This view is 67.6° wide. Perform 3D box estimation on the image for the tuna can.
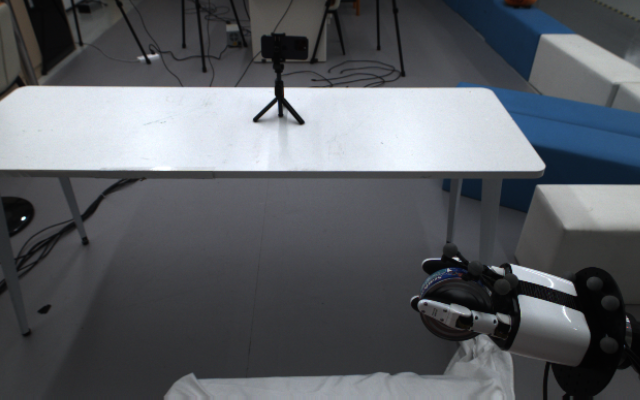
[{"bbox_3d":[0.168,0.125,0.592,0.085,0.085,0.034,7,17,7],"label":"tuna can"}]
